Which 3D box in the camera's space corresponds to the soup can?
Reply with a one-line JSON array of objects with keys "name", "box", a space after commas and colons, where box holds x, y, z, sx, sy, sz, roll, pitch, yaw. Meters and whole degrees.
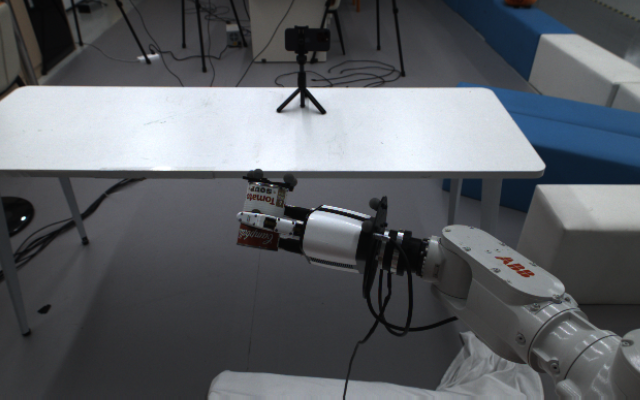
[{"name": "soup can", "box": [-0.092, 0.027, 0.778, 0.067, 0.101, 0.067, 9, -5, 1]}]
